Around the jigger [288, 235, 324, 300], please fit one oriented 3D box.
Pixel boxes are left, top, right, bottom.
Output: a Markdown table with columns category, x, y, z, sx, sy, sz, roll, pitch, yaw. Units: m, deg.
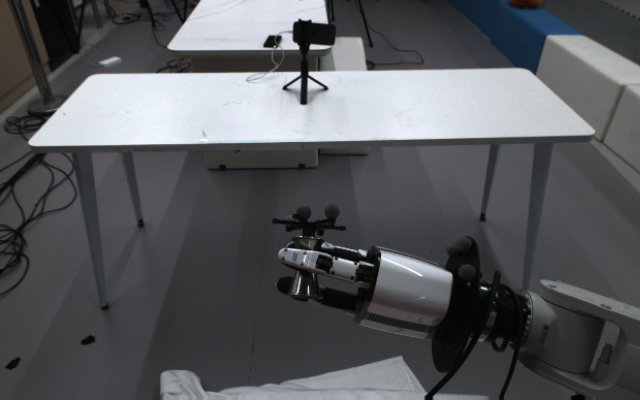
| category | x | y | z | sx | sy | sz | roll | pitch | yaw |
| --- | --- | --- | --- | --- | --- | --- | --- | --- | --- |
| jigger | -0.017 | 0.078 | 0.568 | 0.043 | 0.043 | 0.071 | 3 | 75 | 2 |
